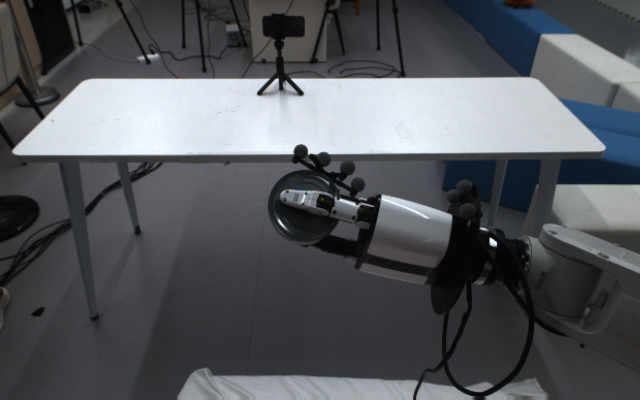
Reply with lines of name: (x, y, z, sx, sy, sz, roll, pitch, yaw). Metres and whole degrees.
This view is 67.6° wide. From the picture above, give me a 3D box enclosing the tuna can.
tuna can: (-0.016, 0.009, 0.571, 0.085, 0.034, 0.085, 1, 75, -4)
